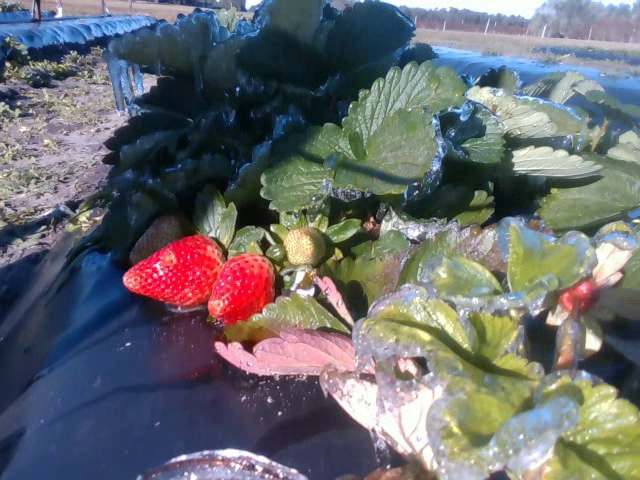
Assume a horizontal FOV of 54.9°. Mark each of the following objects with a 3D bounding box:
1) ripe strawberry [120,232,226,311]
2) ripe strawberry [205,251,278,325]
[{"bbox_3d":[-0.073,0.017,0.293,0.051,0.040,0.036,-6,0,-40],"label":"ripe strawberry"},{"bbox_3d":[-0.037,0.023,0.276,0.036,0.030,0.041,-23,21,30],"label":"ripe strawberry"}]
